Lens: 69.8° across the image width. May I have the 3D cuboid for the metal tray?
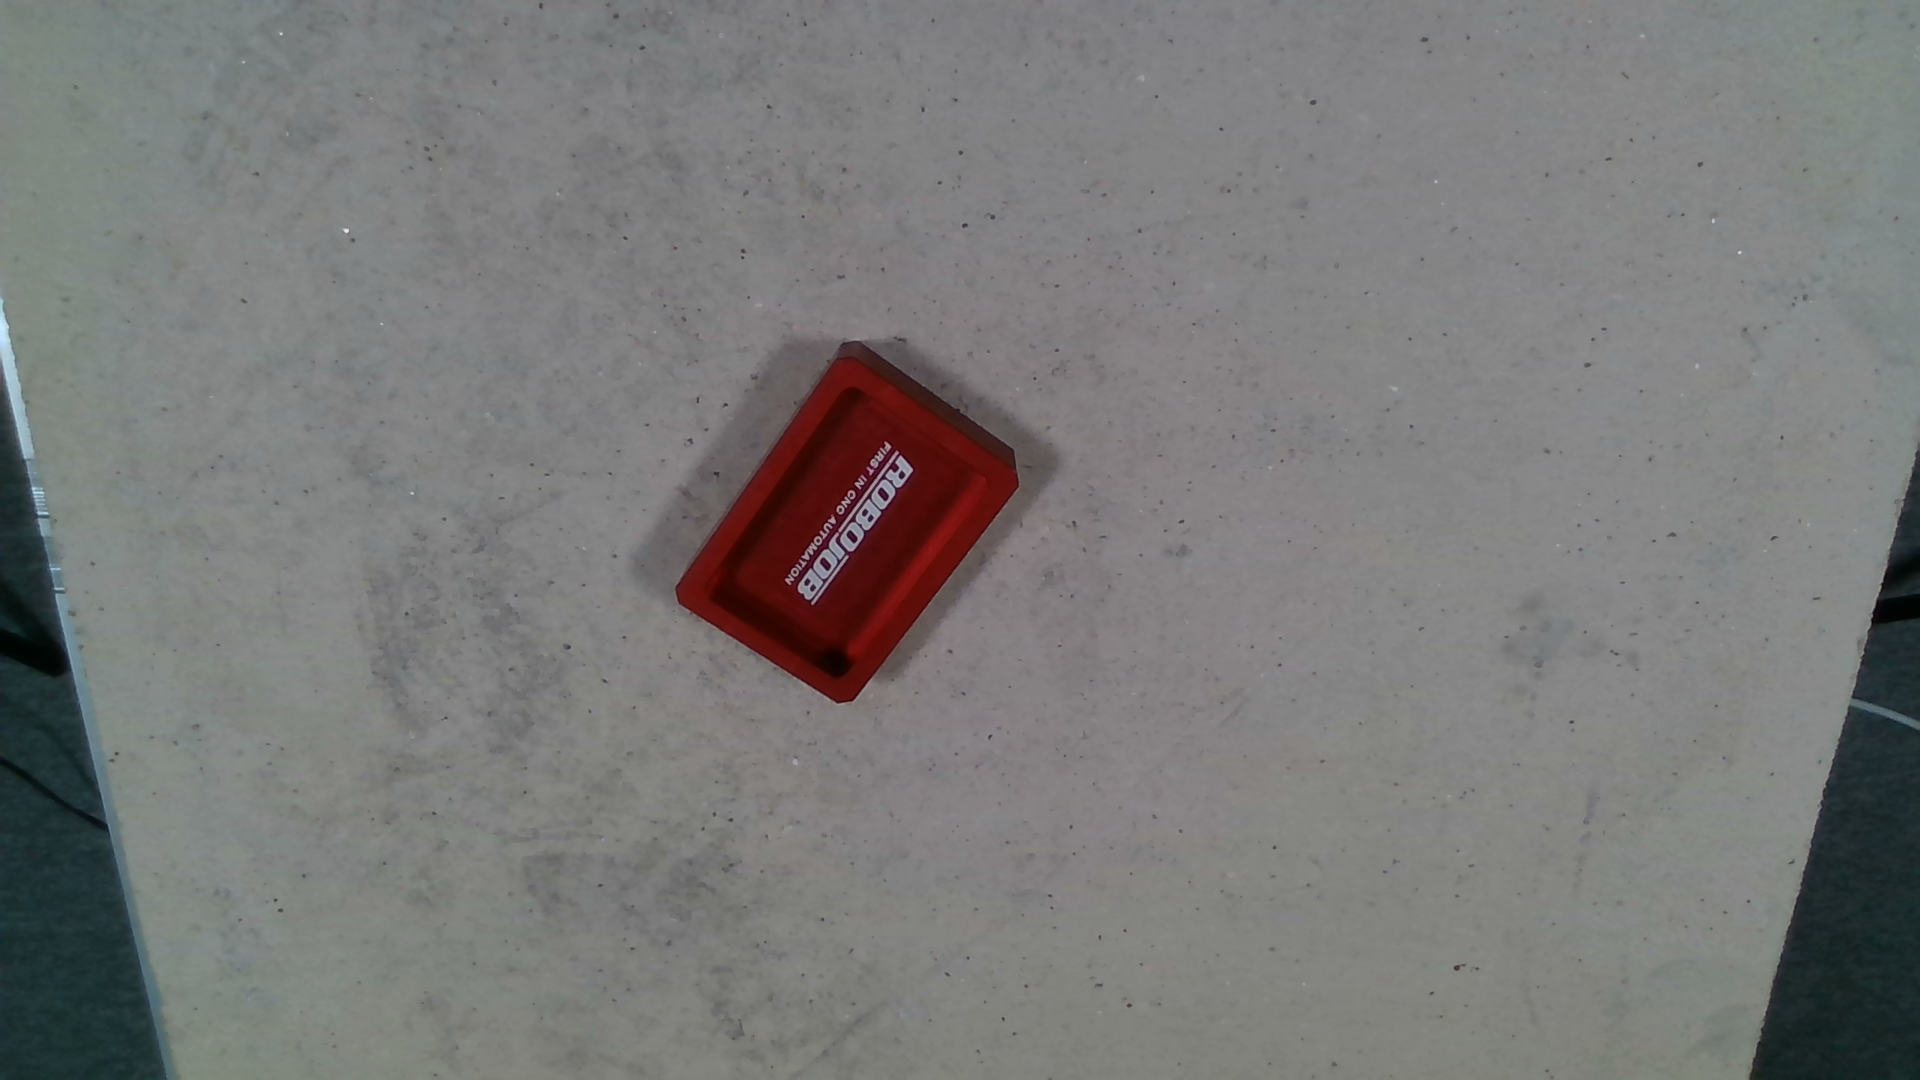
[{"bbox_3d":[-0.048,-0.006,0.580,0.090,0.030,0.130,34,107,-12],"label":"metal tray"}]
